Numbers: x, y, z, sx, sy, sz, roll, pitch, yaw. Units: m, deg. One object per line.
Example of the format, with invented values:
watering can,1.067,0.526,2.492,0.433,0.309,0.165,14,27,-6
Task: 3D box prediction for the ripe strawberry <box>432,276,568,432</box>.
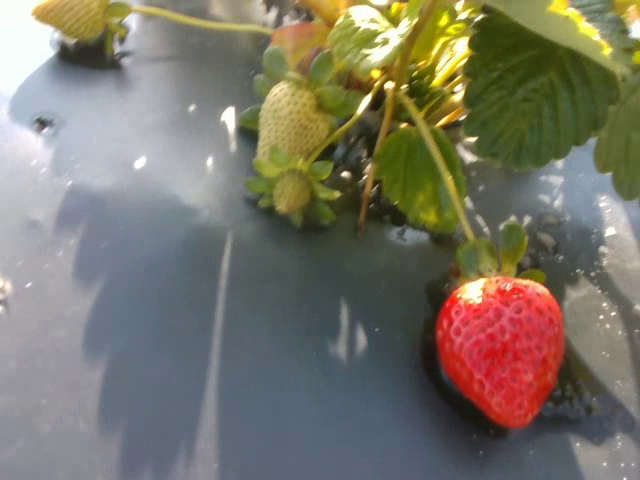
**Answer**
ripe strawberry,0.043,0.027,0.131,0.030,0.045,0.033,-14,-51,30
